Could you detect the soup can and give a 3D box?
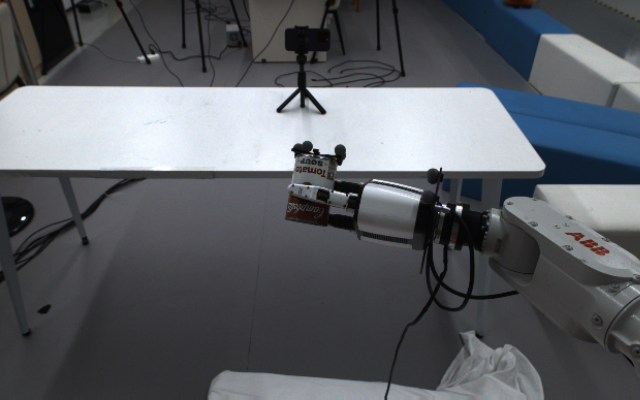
[{"bbox_3d":[-0.012,-0.014,0.750,0.067,0.101,0.067,9,-5,1],"label":"soup can"}]
